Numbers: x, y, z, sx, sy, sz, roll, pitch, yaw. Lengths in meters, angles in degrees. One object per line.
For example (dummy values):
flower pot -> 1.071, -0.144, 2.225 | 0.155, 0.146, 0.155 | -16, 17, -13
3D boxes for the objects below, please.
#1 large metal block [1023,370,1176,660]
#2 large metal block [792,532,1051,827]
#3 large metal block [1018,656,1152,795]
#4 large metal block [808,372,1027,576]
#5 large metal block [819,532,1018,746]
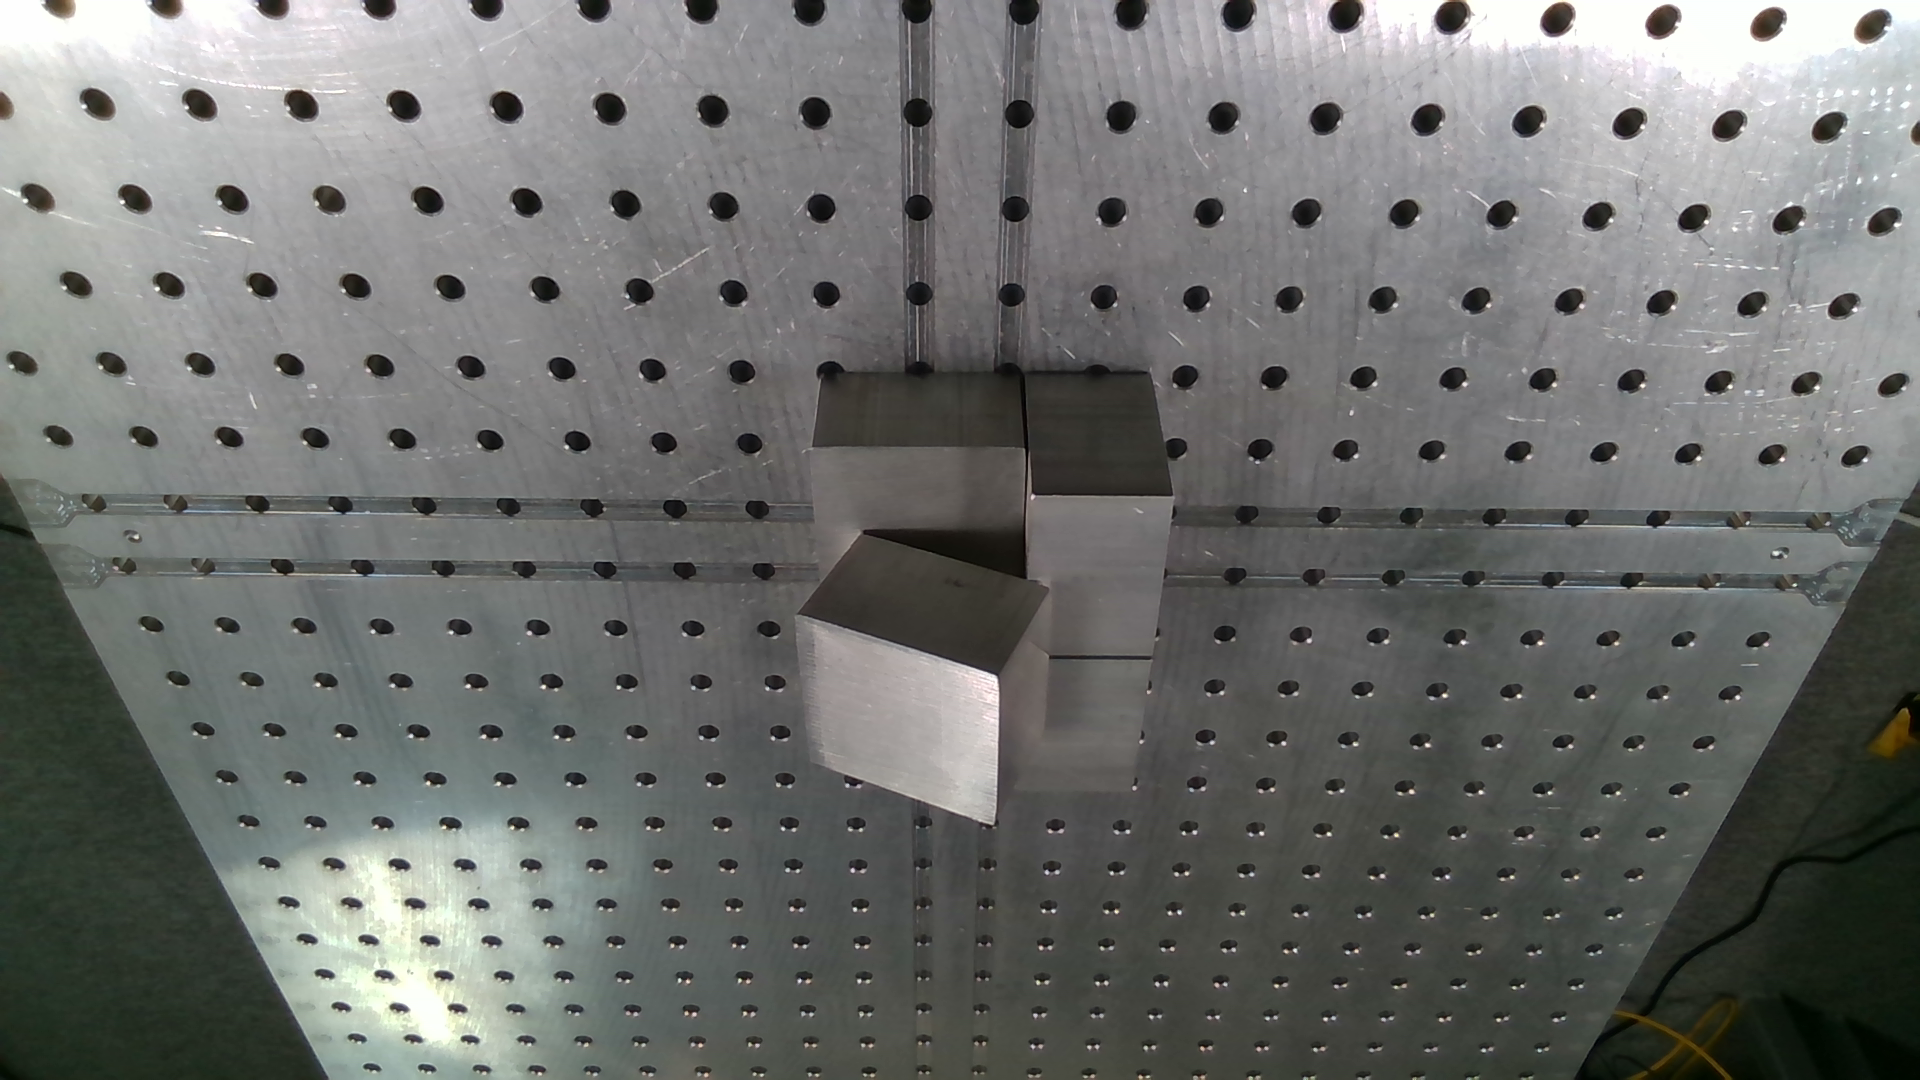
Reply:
large metal block -> 0.050, -0.010, 0.537 | 0.050, 0.080, 0.080 | 1, 130, 0
large metal block -> -0.013, 0.053, 0.523 | 0.080, 0.050, 0.080 | 16, 133, 18
large metal block -> 0.049, 0.051, 0.588 | 0.050, 0.080, 0.080 | 1, 130, 0
large metal block -> -0.016, -0.019, 0.548 | 0.080, 0.050, 0.080 | 1, 130, 0
large metal block -> -0.017, 0.044, 0.599 | 0.080, 0.050, 0.080 | 1, 130, 0
